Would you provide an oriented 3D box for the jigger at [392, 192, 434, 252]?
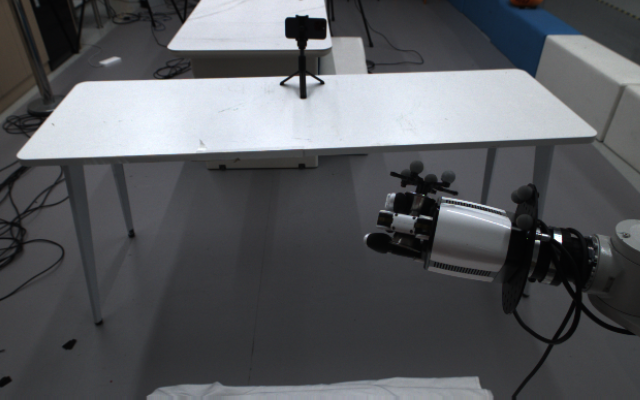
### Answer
[{"bbox_3d":[0.118,0.027,0.611,0.043,0.071,0.043,19,-6,2],"label":"jigger"}]
